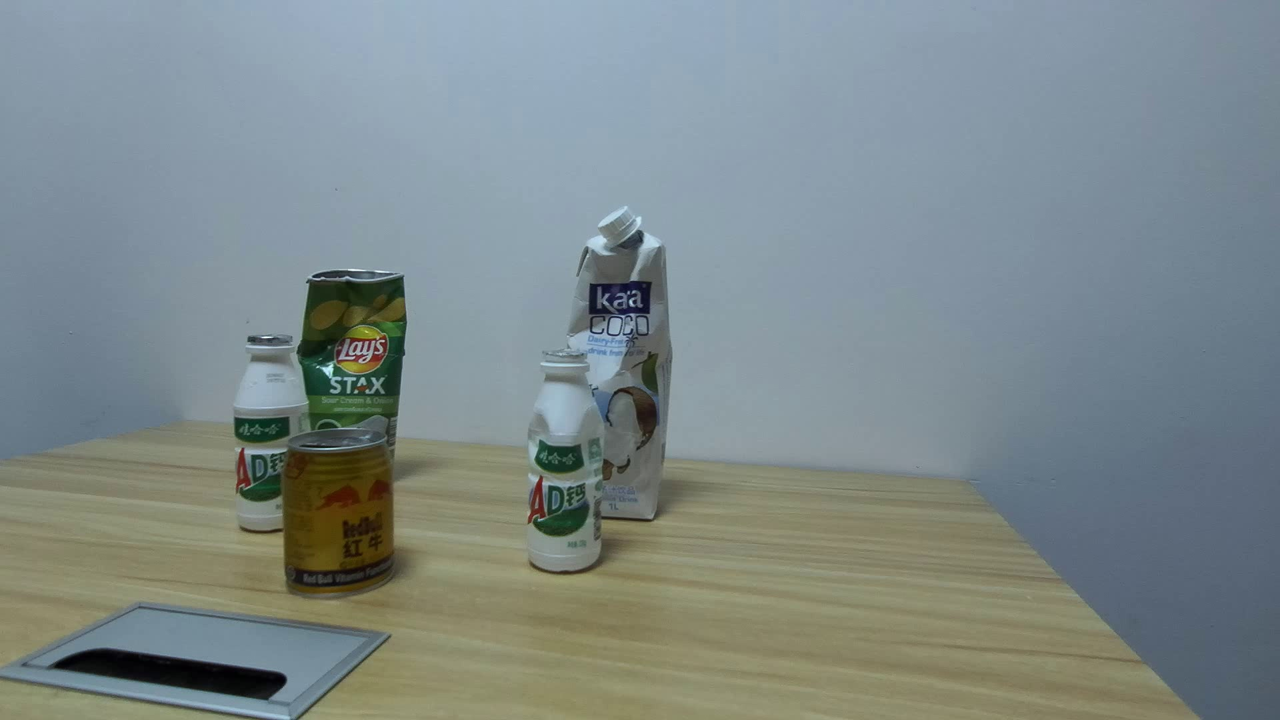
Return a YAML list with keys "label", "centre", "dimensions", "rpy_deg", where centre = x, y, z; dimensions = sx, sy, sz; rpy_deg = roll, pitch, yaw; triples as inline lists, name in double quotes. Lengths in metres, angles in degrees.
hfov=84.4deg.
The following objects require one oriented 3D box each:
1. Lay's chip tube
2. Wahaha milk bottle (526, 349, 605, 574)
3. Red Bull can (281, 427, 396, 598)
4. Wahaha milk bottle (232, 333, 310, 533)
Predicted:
- label: "Lay's chip tube"
  centre: [-0.269, 0.017, 0.666]
  dimensions: [0.069, 0.201, 0.078]
  rpy_deg: [8, 11, 38]
- label: "Wahaha milk bottle"
  centre: [-0.053, 0.068, 0.487]
  dimensions: [0.055, 0.149, 0.055]
  rpy_deg: [1, 7, 0]
- label: "Red Bull can"
  centre: [-0.193, 0.096, 0.452]
  dimensions: [0.067, 0.093, 0.067]
  rpy_deg: [2, 7, 0]
- label: "Wahaha milk bottle"
  centre: [-0.283, 0.055, 0.543]
  dimensions: [0.053, 0.147, 0.053]
  rpy_deg: [1, 5, 0]
